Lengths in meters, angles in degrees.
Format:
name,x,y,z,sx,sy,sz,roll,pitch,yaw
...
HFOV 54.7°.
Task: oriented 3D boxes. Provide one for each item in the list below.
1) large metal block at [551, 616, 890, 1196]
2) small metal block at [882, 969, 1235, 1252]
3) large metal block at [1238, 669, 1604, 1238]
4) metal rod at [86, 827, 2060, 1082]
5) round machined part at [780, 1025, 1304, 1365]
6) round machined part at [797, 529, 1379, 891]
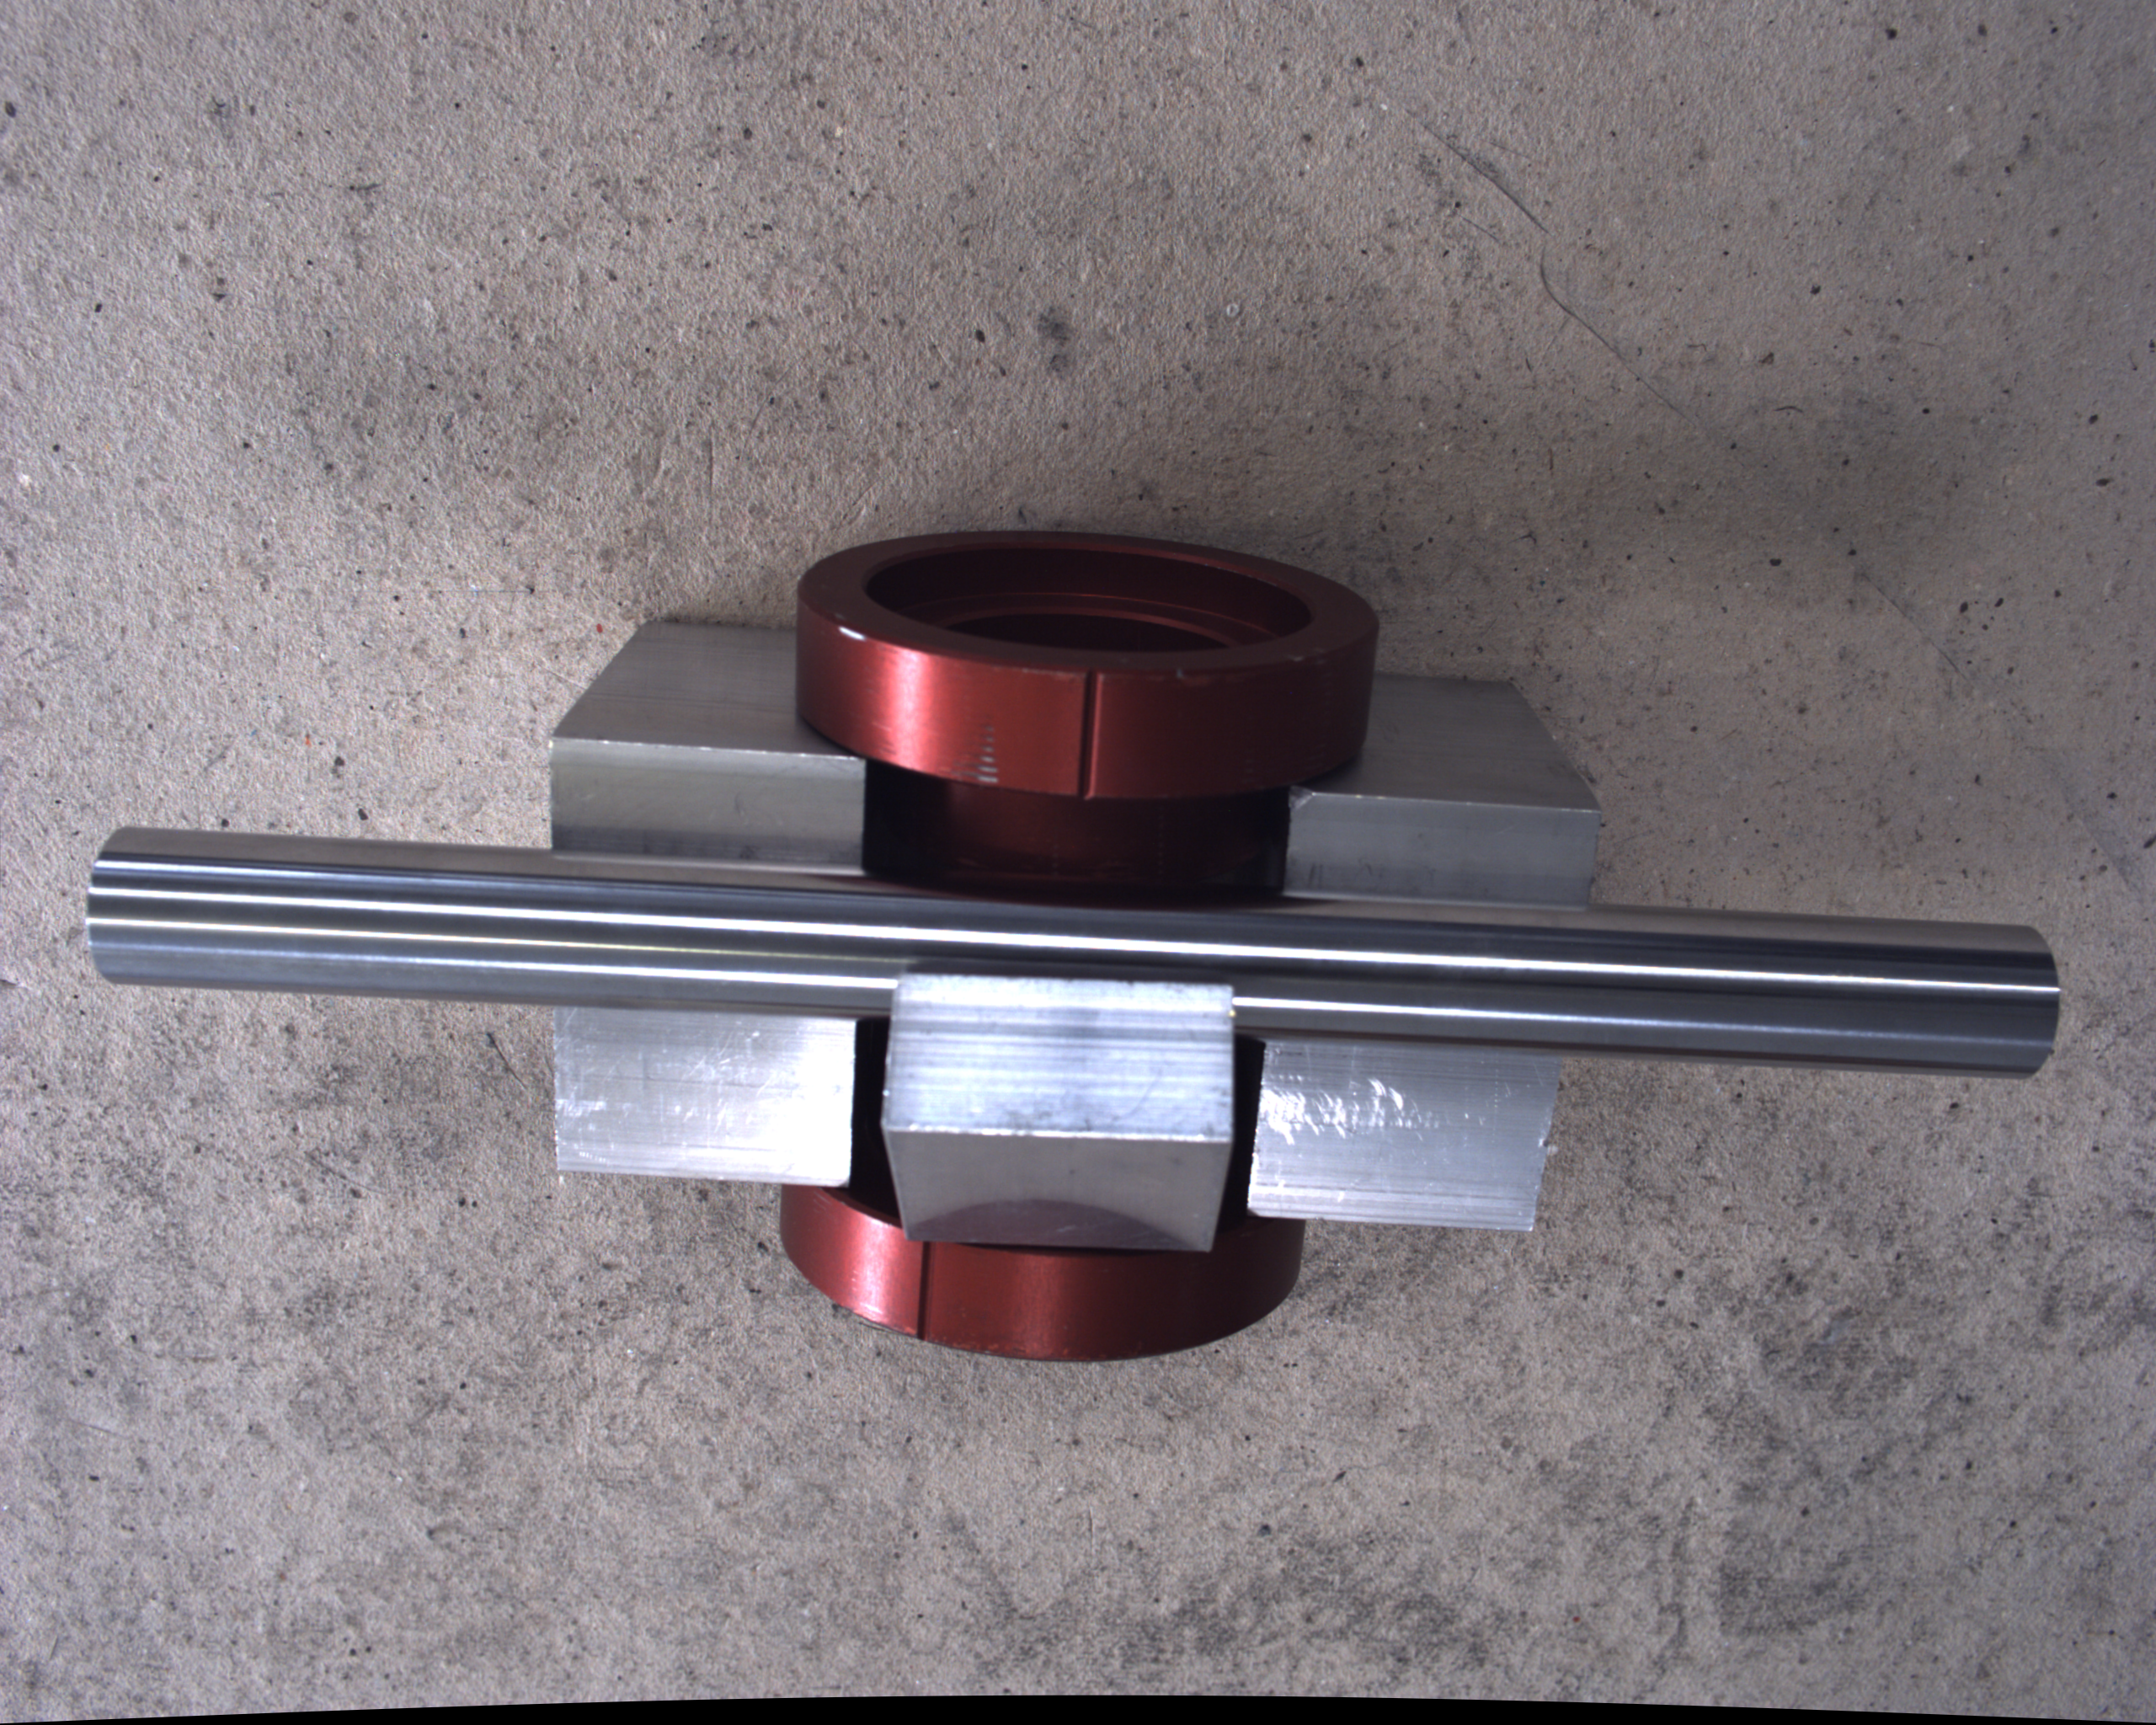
name,x,y,z,sx,sy,sz,roll,pitch,yaw
large metal block,-0.062,0.005,0.383,0.050,0.080,0.079,4,110,-2
small metal block,-0.002,0.040,0.326,0.050,0.025,0.050,2,151,1
large metal block,0.057,0.013,0.387,0.050,0.080,0.079,4,110,-1
metal rod,0.001,0.015,0.331,0.302,0.025,0.025,3,110,-2
round machined part,-0.005,0.051,0.391,0.099,0.098,0.042,4,105,-2
round machined part,0.001,-0.027,0.362,0.099,0.098,0.042,4,111,-2
